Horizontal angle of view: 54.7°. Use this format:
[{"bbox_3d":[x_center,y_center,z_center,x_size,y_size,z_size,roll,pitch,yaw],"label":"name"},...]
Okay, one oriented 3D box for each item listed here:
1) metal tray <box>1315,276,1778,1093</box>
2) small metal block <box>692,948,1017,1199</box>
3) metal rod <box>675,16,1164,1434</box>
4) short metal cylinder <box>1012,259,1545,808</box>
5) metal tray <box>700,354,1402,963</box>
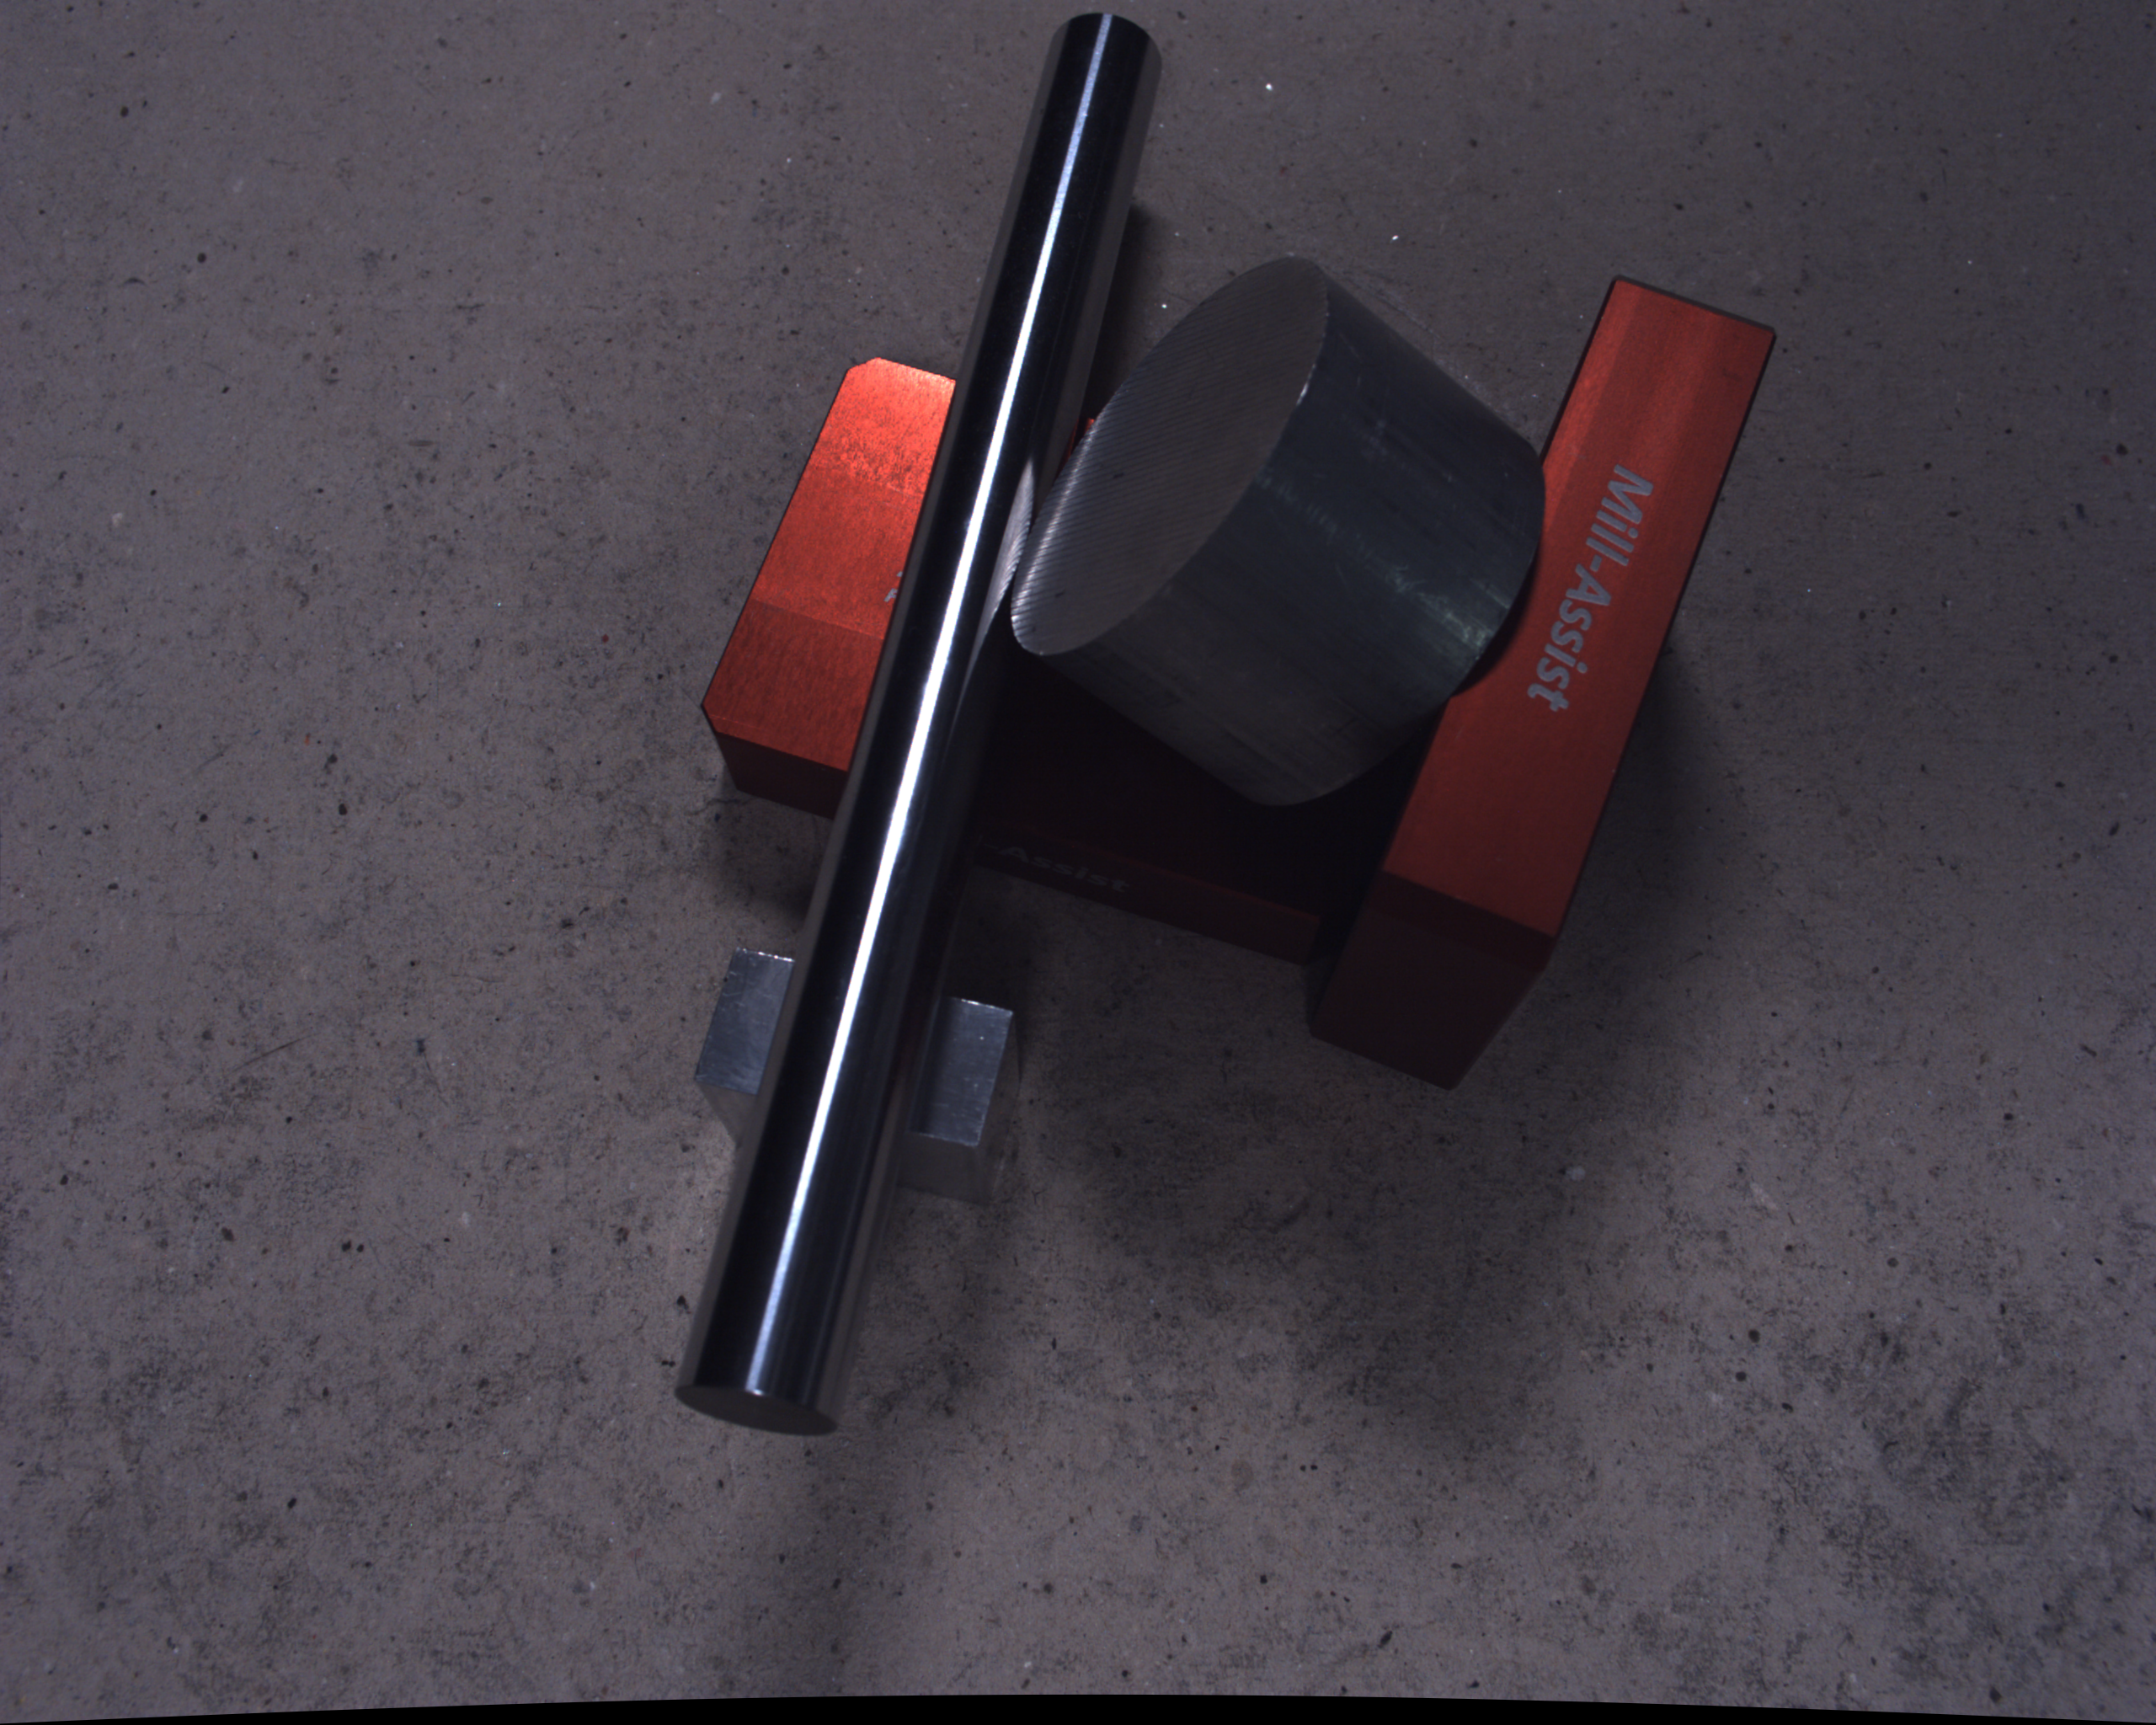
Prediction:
[{"bbox_3d":[0.085,-0.030,0.387,0.030,0.090,0.130,22,71,7],"label":"metal tray"},{"bbox_3d":[-0.038,0.040,0.381,0.050,0.050,0.025,12,71,4],"label":"small metal block"},{"bbox_3d":[-0.021,-0.046,0.385,0.025,0.025,0.300,10,61,3],"label":"metal rod"},{"bbox_3d":[0.033,-0.056,0.362,0.050,0.080,0.080,33,70,-24],"label":"short metal cylinder"},{"bbox_3d":[0.002,-0.042,0.422,0.131,0.030,0.090,17,71,6],"label":"metal tray"}]
